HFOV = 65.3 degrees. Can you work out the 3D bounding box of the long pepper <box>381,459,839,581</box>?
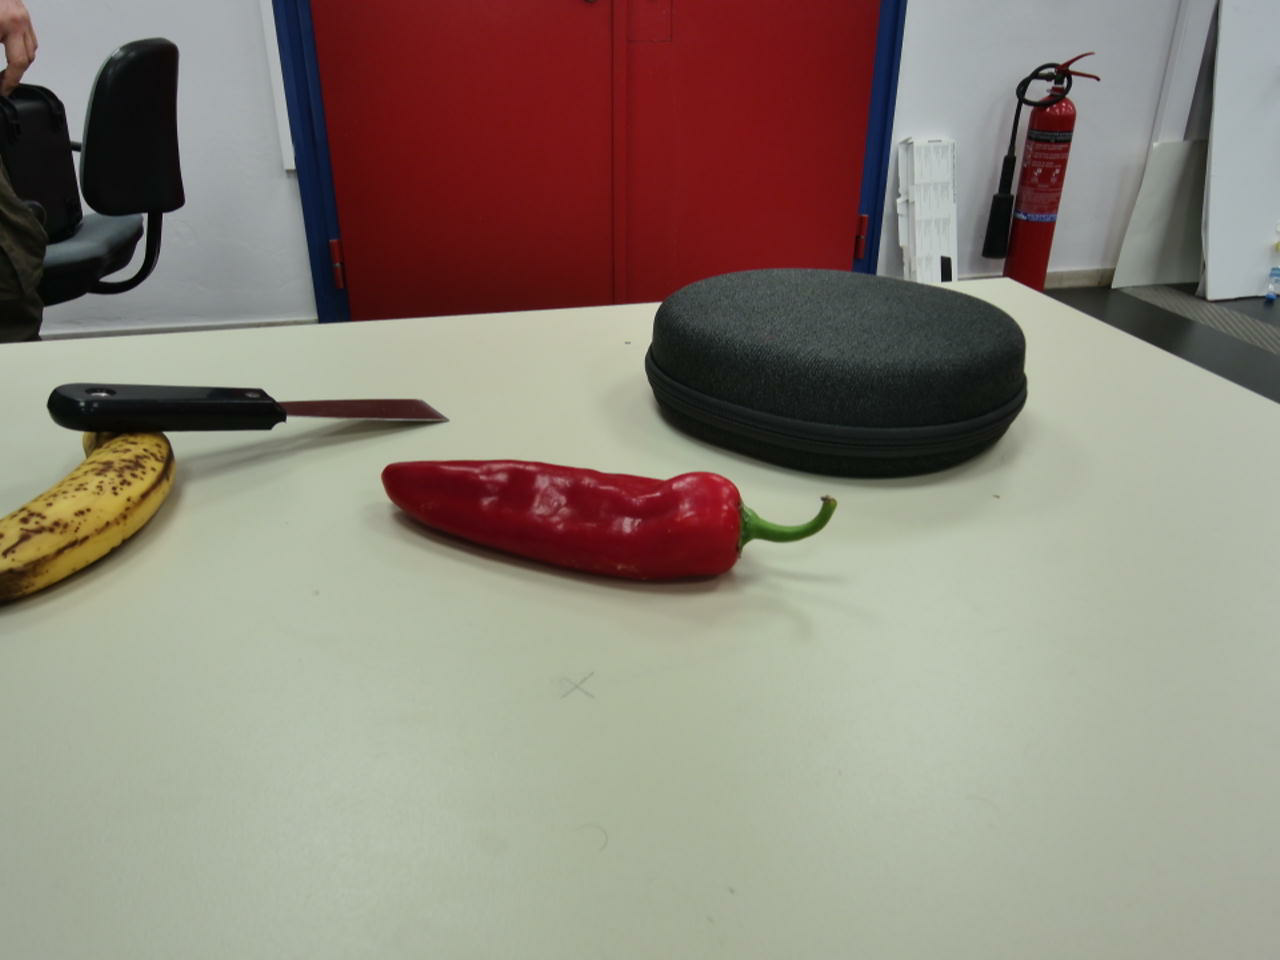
[{"bbox_3d":[-0.024,0.013,0.430,0.211,0.043,0.050,8,25,17],"label":"long pepper"}]
